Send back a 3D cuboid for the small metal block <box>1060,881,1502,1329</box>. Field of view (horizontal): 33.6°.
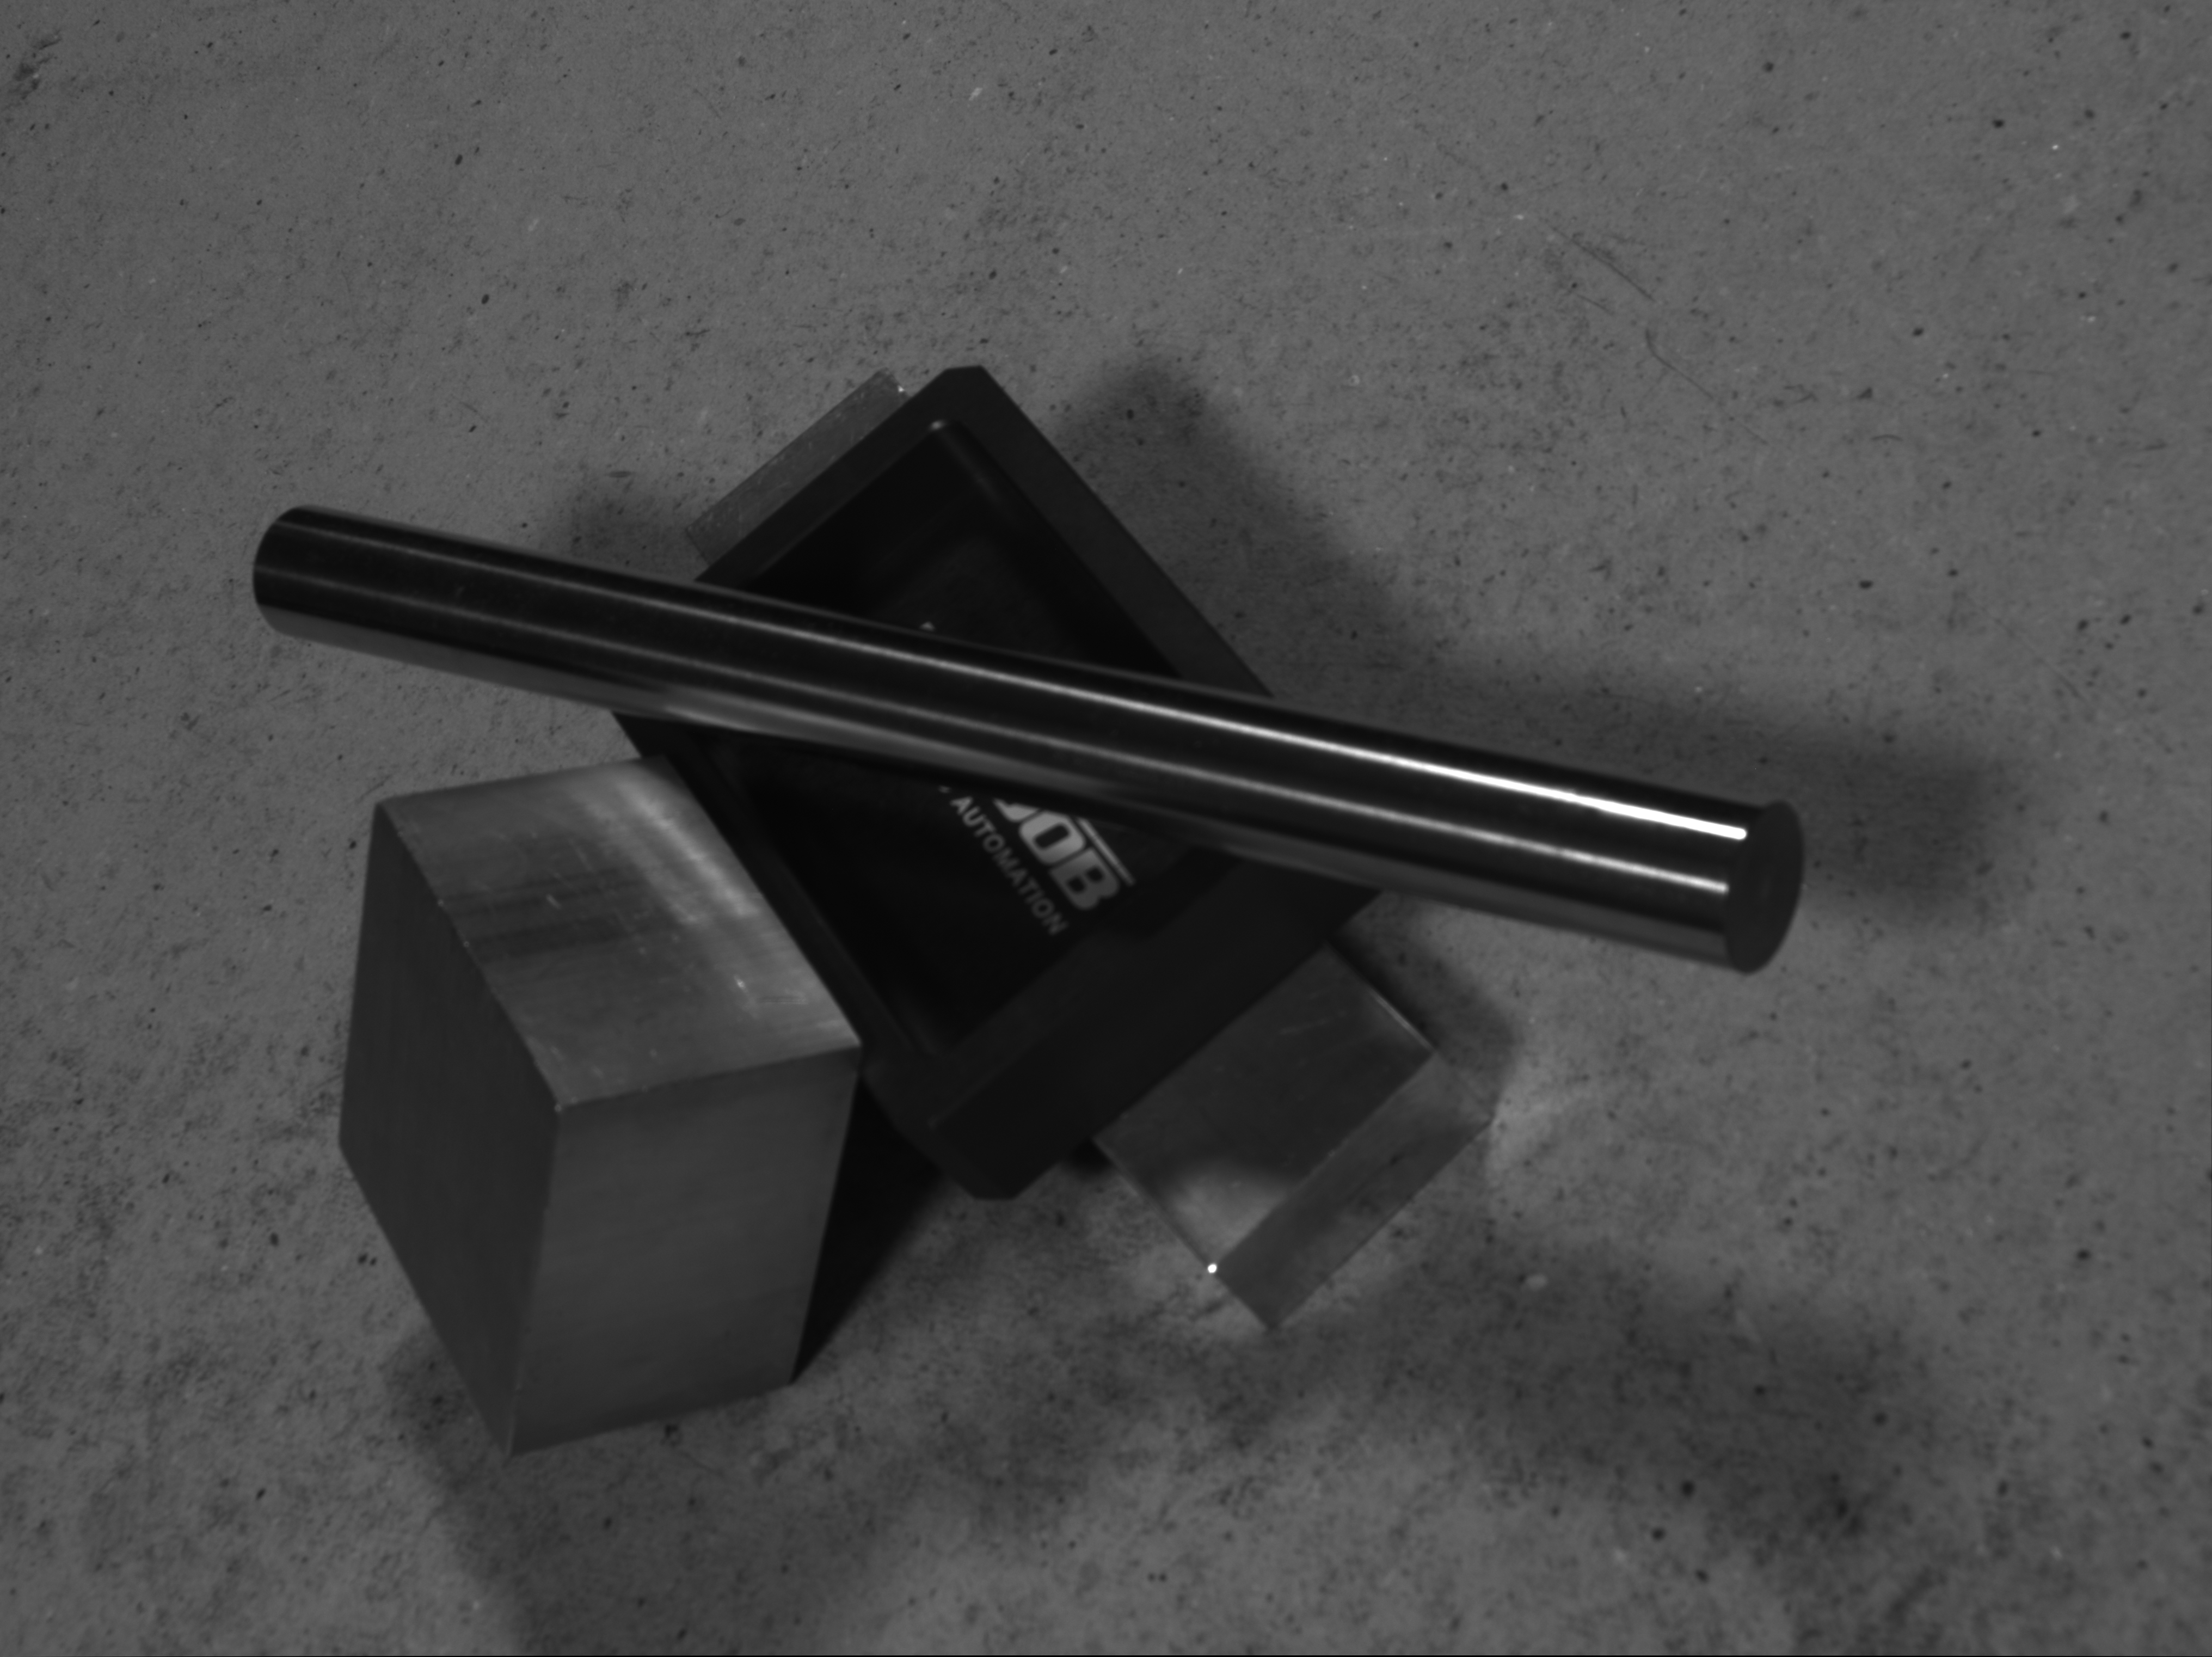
[{"bbox_3d":[0.027,0.045,0.602,0.050,0.025,0.050,-44,51,-2],"label":"small metal block"}]

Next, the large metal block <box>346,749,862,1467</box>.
[{"bbox_3d":[-0.087,0.046,0.617,0.050,0.080,0.080,-11,43,-30],"label":"large metal block"}]

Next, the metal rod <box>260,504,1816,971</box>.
[{"bbox_3d":[-0.027,-0.020,0.600,0.299,0.025,0.025,13,68,34],"label":"metal rod"}]

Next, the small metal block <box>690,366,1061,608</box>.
[{"bbox_3d":[-0.044,-0.052,0.700,0.050,0.025,0.050,-39,51,2],"label":"small metal block"}]

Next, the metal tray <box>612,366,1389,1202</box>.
[{"bbox_3d":[-0.021,-0.011,0.626,0.090,0.030,0.130,-39,51,1],"label":"metal tray"}]
